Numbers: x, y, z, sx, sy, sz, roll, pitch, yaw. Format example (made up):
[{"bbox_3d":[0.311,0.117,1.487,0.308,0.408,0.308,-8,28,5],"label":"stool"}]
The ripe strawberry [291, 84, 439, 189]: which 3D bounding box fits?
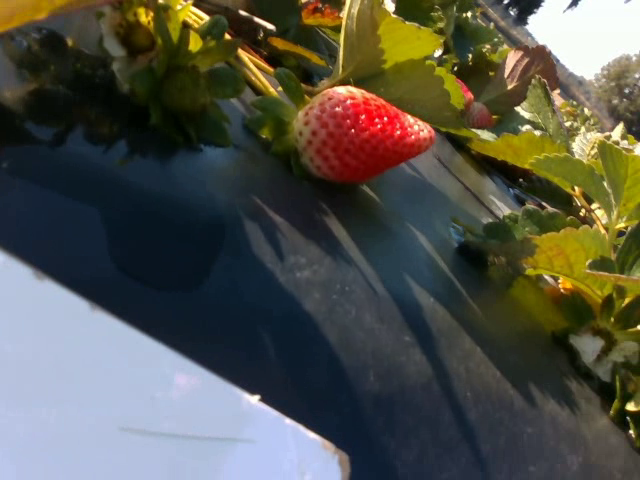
[{"bbox_3d":[0.013,-0.028,0.162,0.045,0.037,0.042,-2,-21,34],"label":"ripe strawberry"}]
